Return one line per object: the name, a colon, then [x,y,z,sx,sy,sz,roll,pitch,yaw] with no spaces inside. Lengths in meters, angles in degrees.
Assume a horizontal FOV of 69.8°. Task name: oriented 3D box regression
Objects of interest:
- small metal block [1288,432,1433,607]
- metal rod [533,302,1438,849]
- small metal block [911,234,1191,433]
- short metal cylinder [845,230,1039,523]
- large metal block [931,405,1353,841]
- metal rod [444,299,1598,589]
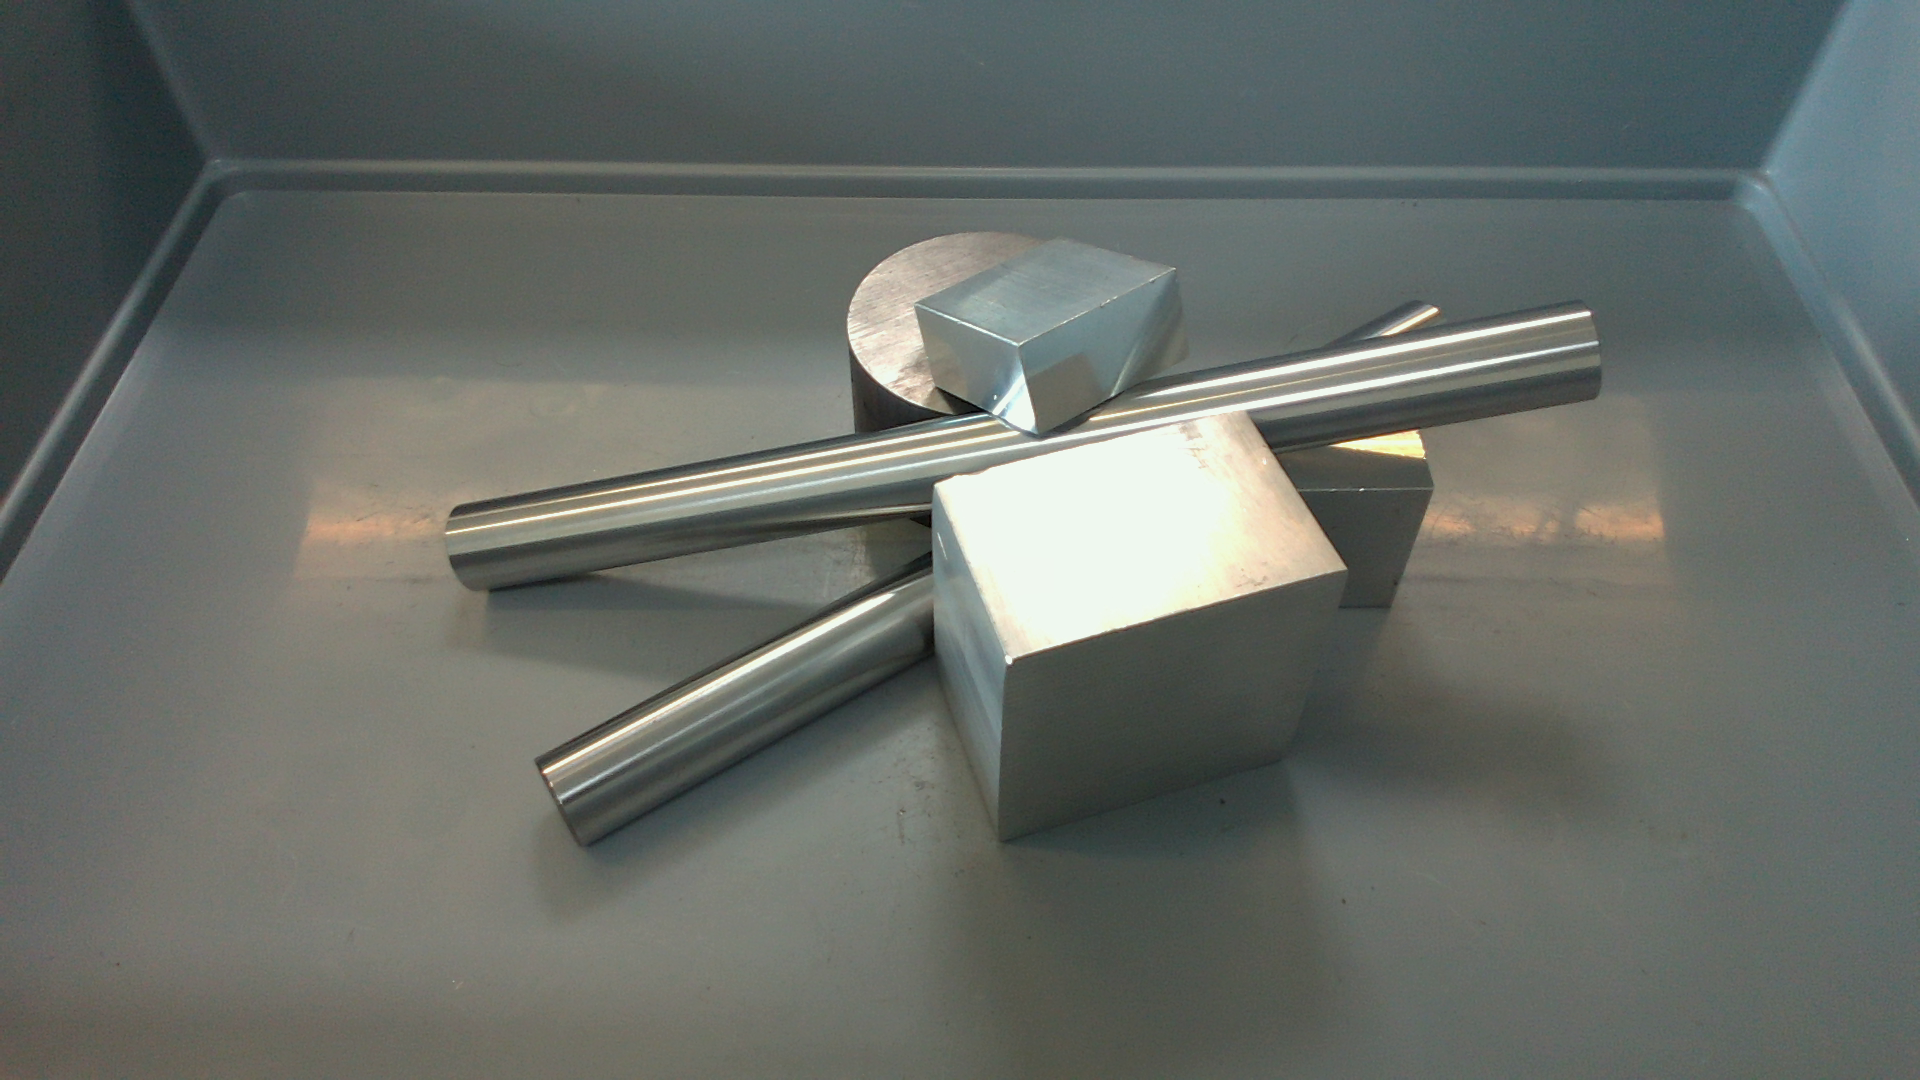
small metal block: [0.097,-0.006,0.380,0.050,0.050,0.025,-1,50,1]
metal rod: [0.025,0.000,0.391,0.301,0.025,0.025,-28,55,-21]
small metal block: [0.024,-0.056,0.361,0.050,0.025,0.050,-29,33,-22]
short metal cylinder: [0.007,-0.049,0.415,0.080,0.050,0.080,0,49,0]
large metal block: [0.039,0.021,0.335,0.080,0.080,0.050,-14,51,-12]
metal rod: [0.007,-0.023,0.363,0.300,0.025,0.025,-10,49,9]
